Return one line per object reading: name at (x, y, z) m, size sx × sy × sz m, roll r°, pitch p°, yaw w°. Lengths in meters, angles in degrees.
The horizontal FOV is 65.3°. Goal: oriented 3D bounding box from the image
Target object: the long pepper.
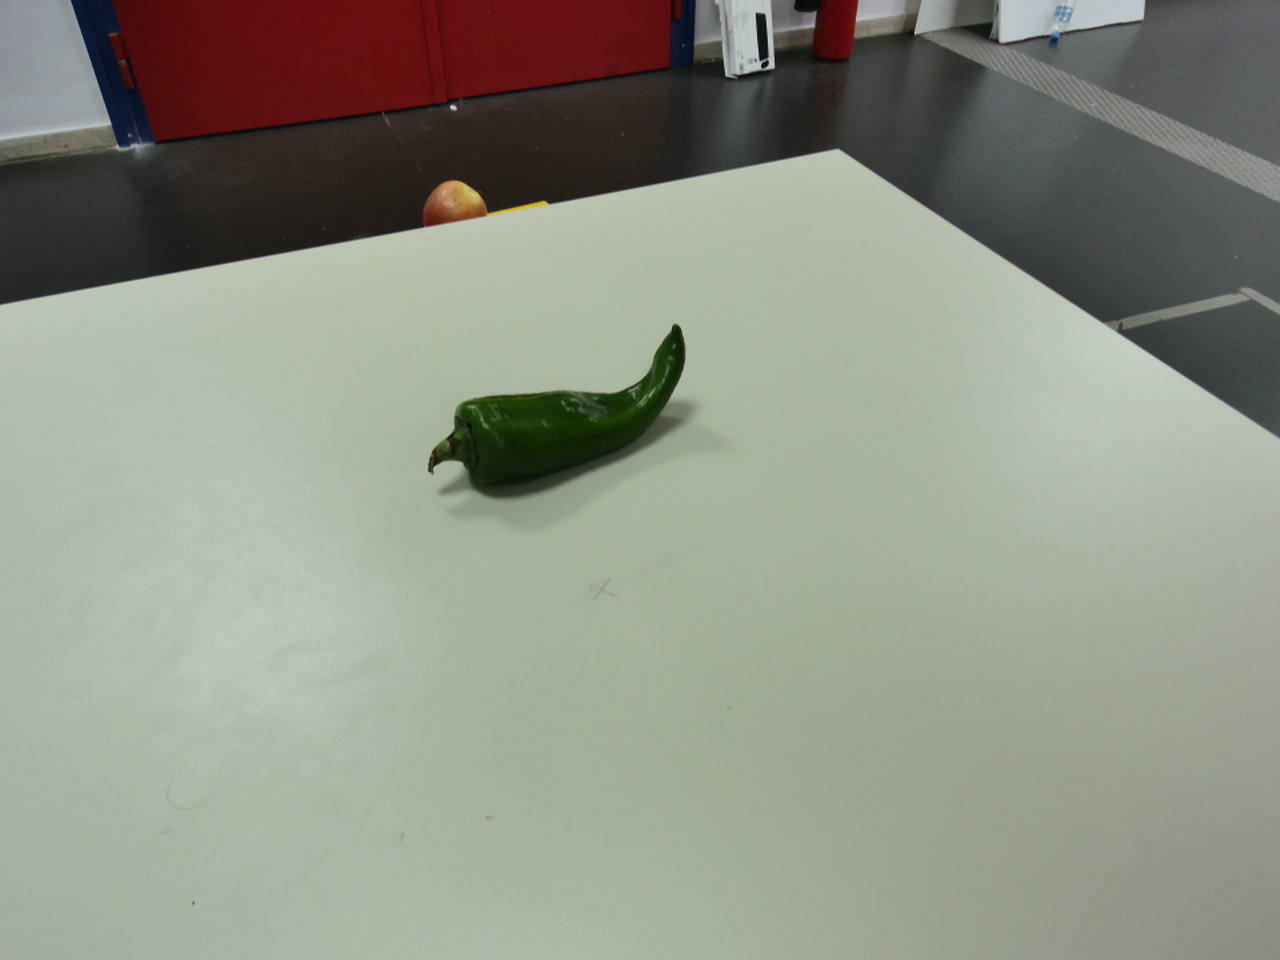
long pepper at (-0.045, -0.042, 0.603) m, size 0.175 × 0.065 × 0.058 m, roll -17°, pitch 42°, yaw -21°
